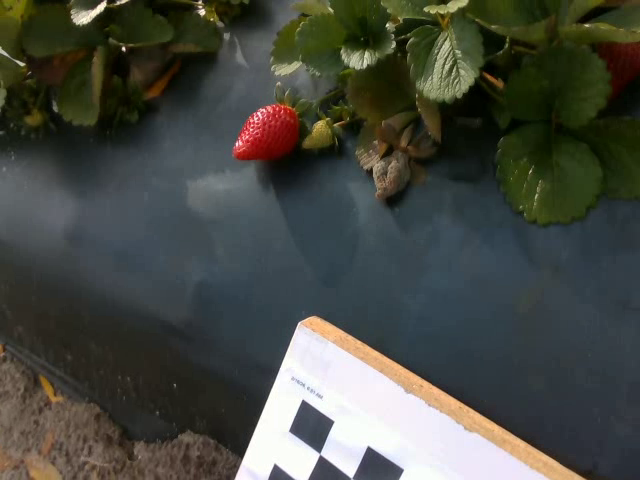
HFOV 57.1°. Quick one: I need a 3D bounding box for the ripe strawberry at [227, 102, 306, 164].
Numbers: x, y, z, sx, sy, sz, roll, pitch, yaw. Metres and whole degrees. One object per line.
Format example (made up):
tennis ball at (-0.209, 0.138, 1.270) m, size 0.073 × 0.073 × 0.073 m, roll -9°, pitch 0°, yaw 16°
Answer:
ripe strawberry at (-0.040, -0.070, 0.392) m, size 0.045 × 0.058 × 0.051 m, roll 31°, pitch -30°, yaw 23°
